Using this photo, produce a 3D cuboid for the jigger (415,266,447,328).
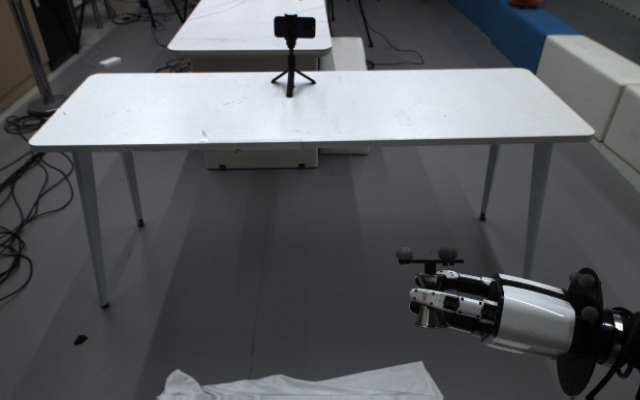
[{"bbox_3d":[0.147,0.132,0.646,0.043,0.071,0.043,1,-5,0],"label":"jigger"}]
